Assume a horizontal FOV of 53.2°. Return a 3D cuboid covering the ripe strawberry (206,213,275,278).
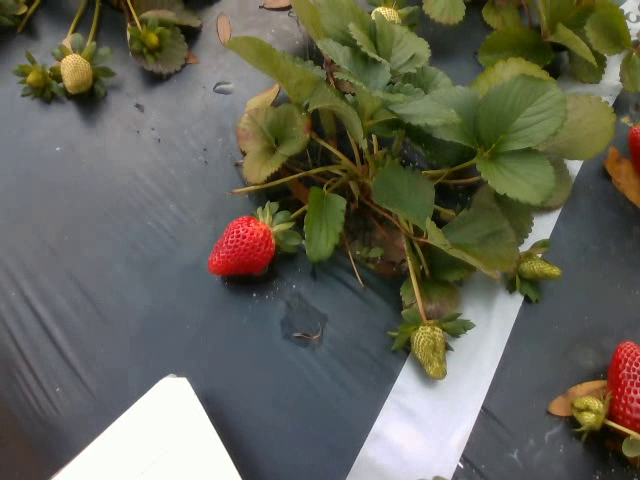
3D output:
[{"bbox_3d":[-0.044,0.005,0.357,0.046,0.040,0.036,-25,43,-29],"label":"ripe strawberry"}]
